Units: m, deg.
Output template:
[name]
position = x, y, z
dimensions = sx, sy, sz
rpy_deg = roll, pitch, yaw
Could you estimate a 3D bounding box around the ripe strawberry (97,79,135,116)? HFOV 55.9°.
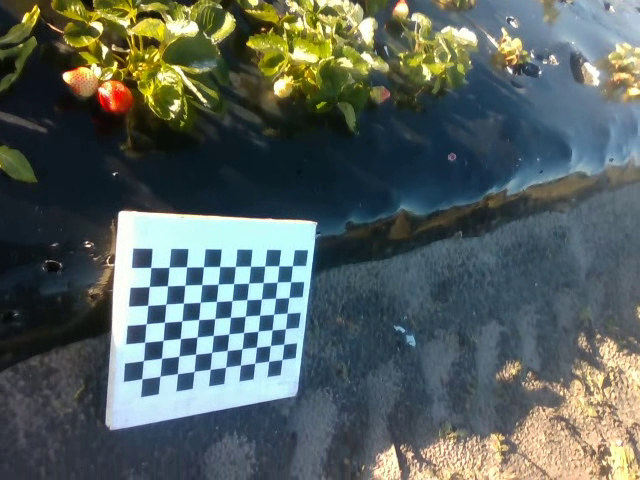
[ripe strawberry]
position = -0.219, -0.152, 0.643
dimensions = 0.040, 0.038, 0.056
rpy_deg = -11, 20, -8
